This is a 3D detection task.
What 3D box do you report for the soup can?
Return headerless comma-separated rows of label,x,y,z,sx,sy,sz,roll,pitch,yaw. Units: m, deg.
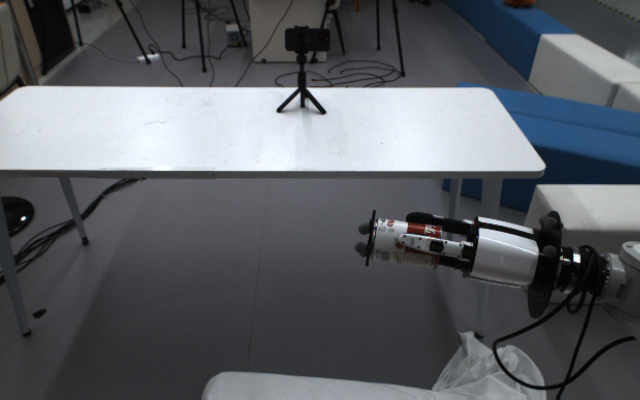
soup can,0.136,0.066,0.749,0.101,0.067,0.067,6,35,10
